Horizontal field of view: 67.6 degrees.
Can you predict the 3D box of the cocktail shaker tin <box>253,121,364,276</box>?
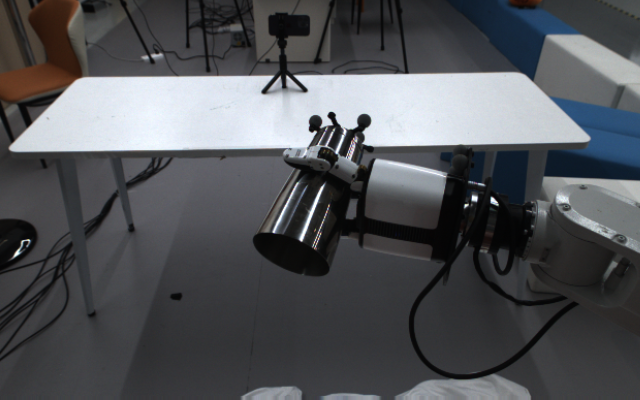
[{"bbox_3d":[-0.004,-0.006,0.577,0.093,0.093,0.170,13,58,16],"label":"cocktail shaker tin"}]
